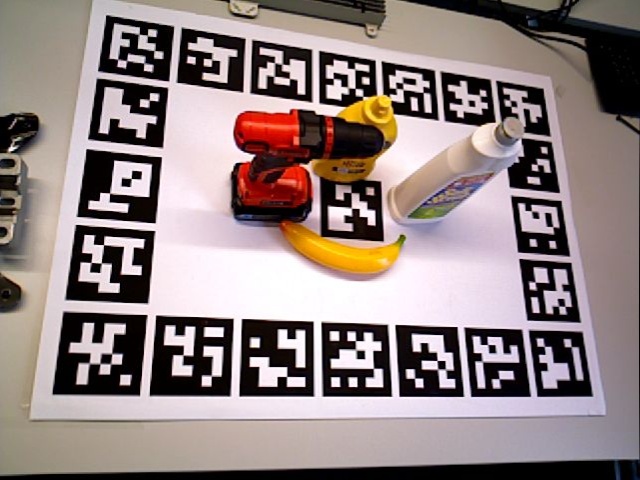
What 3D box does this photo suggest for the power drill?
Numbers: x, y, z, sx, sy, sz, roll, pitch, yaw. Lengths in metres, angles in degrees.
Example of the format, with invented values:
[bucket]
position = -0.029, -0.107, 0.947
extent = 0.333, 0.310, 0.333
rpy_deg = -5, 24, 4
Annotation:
[power drill]
position = -0.030, -0.098, 0.691
extent = 0.182, 0.191, 0.057
rpy_deg = 3, 64, -18

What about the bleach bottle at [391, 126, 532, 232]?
[bleach bottle]
position = 0.192, -0.082, 0.744
extent = 0.101, 0.255, 0.067
rpy_deg = -3, 74, -17

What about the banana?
[banana]
position = 0.047, 0.019, 0.778
extent = 0.195, 0.039, 0.074
rpy_deg = 8, 75, -11

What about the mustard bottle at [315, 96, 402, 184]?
[mustard bottle]
position = 0.062, -0.141, 0.750
extent = 0.095, 0.195, 0.058
rpy_deg = 6, 70, -15
